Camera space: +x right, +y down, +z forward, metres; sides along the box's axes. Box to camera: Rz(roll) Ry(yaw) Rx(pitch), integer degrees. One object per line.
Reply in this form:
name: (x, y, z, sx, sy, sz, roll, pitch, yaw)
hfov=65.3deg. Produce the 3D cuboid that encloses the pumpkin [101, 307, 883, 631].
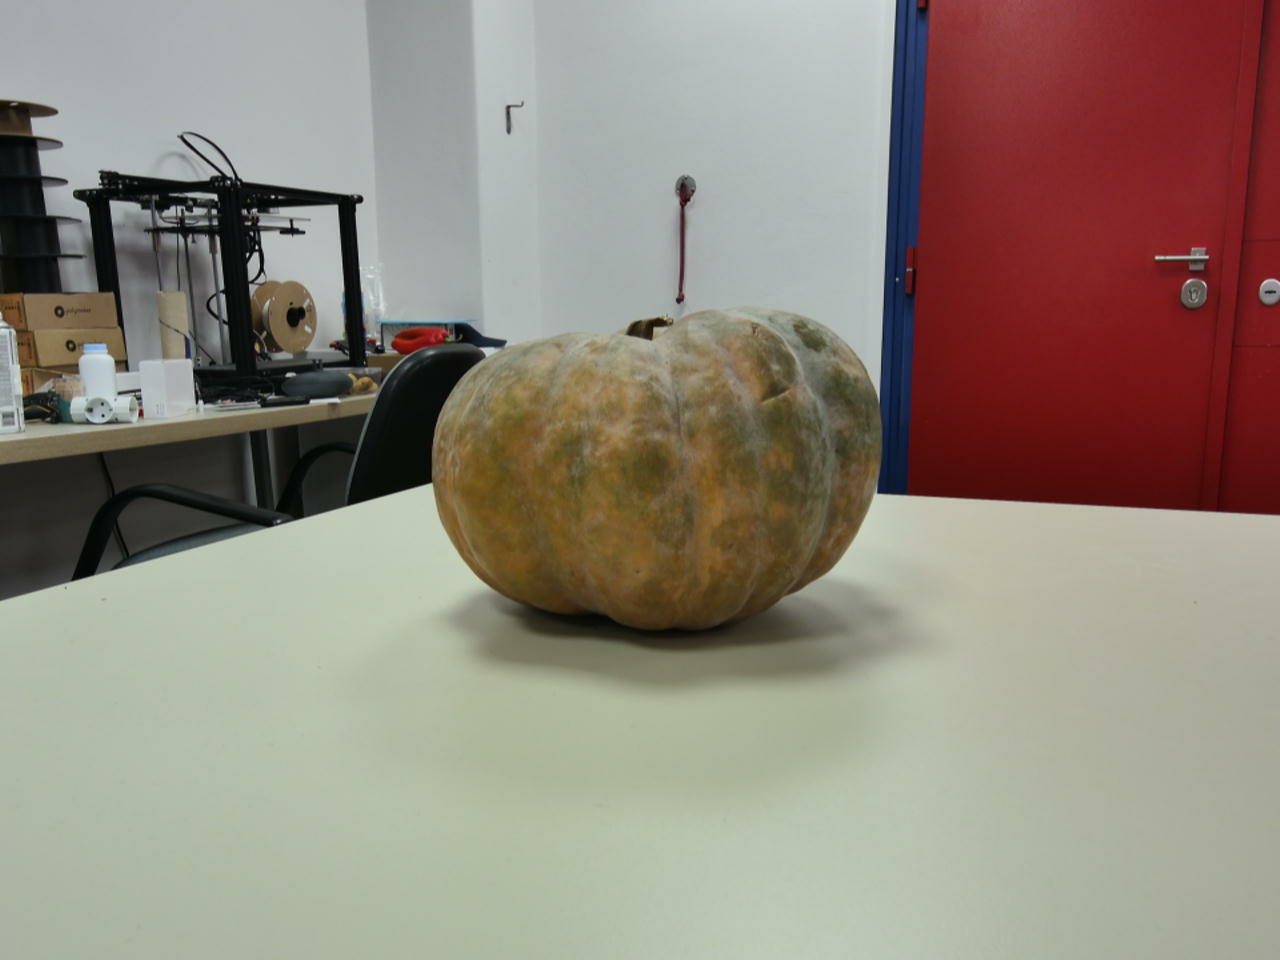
pumpkin: (0.005, -0.010, 0.563, 0.252, 0.168, 0.252, 0, 7, 0)
